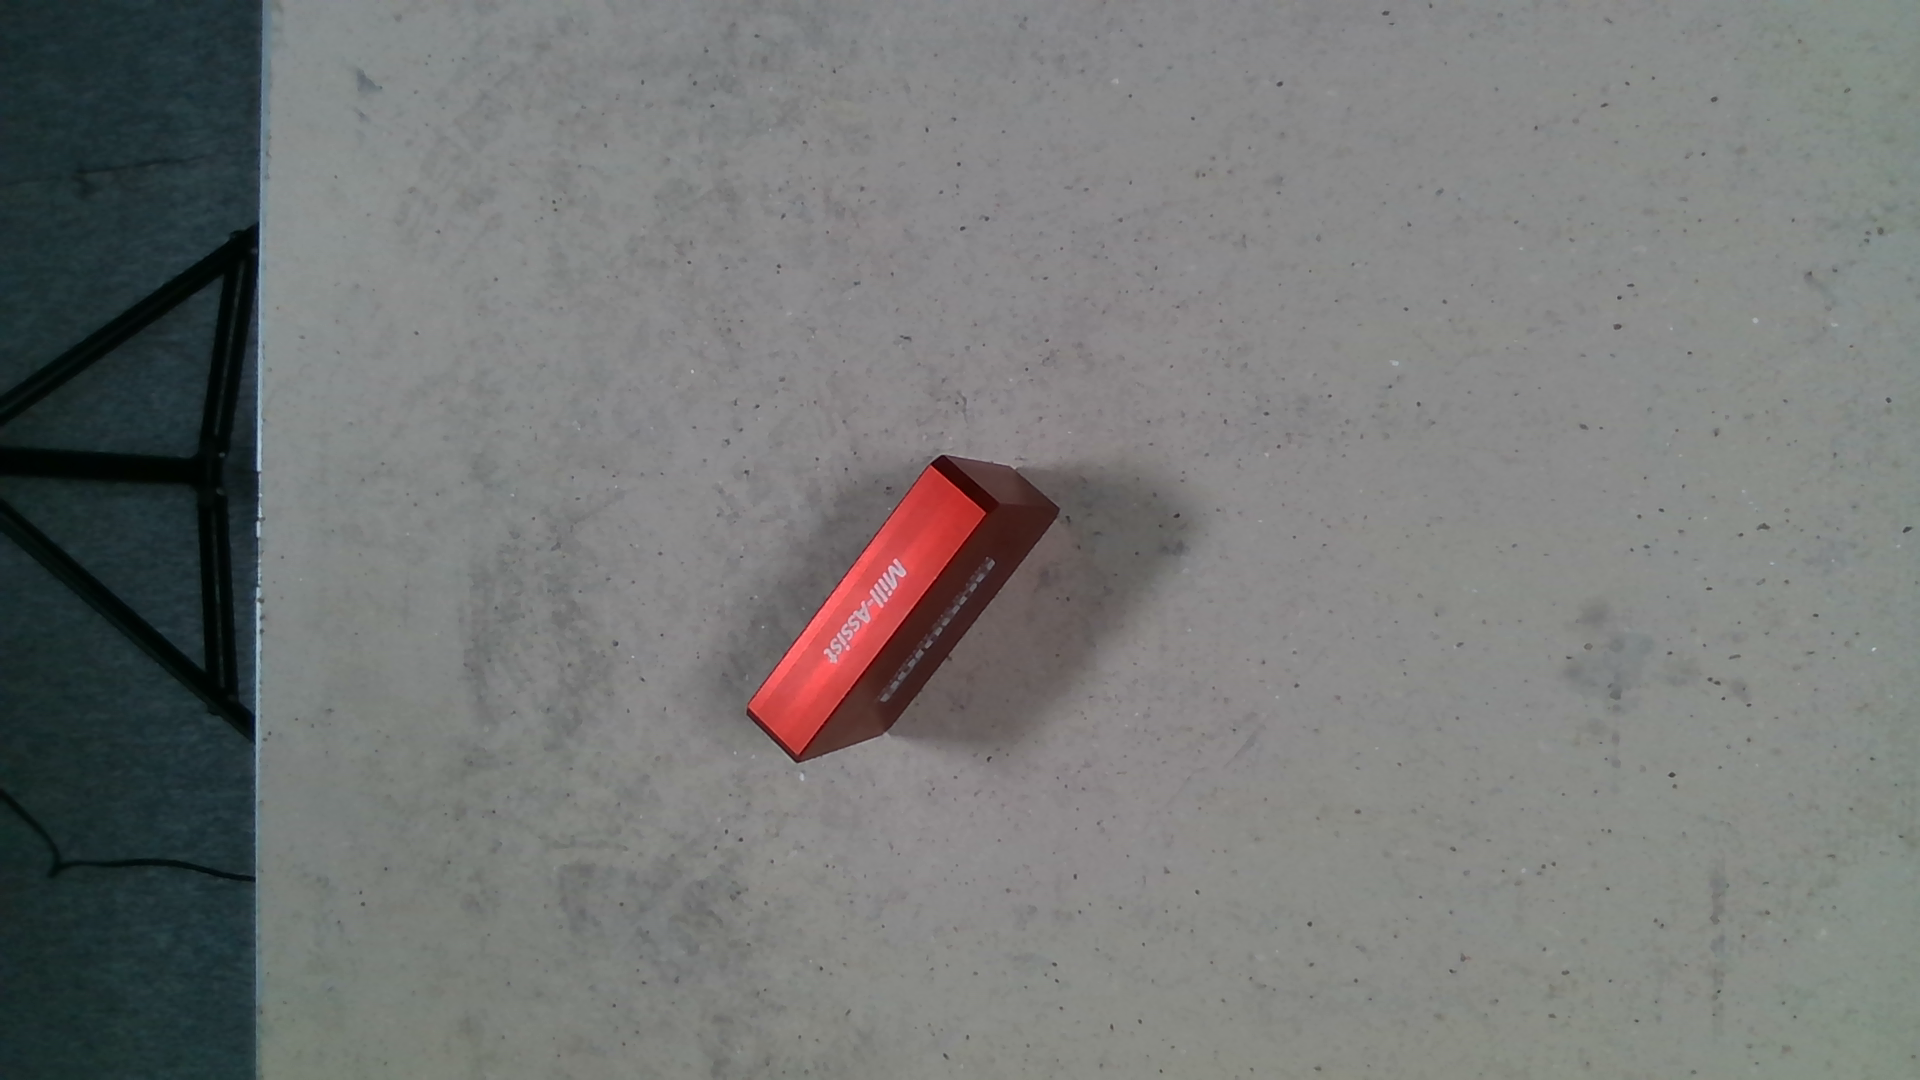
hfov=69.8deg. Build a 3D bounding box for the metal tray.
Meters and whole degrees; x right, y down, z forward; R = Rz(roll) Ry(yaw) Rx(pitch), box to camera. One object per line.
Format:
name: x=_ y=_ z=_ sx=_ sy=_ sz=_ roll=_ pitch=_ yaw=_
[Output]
metal tray: x=-0.021 y=0.027 z=0.559 sx=0.030 sy=0.090 sz=0.130 roll=41 pitch=104 yaw=15
